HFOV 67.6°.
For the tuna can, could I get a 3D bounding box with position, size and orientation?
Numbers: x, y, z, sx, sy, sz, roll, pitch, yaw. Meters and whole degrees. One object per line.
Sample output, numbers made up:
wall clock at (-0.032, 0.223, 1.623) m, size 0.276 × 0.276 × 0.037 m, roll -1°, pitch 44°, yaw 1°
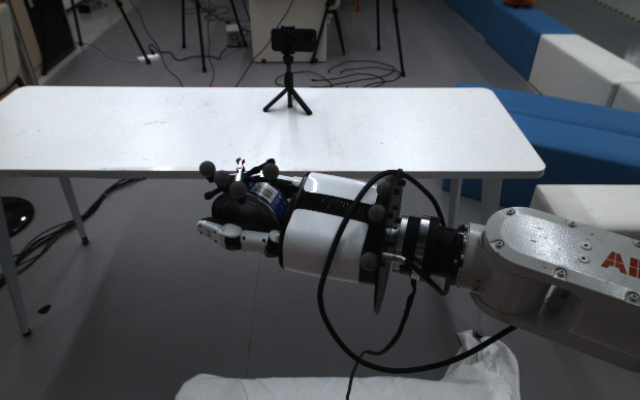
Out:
tuna can at (-0.074, 0.015, 0.547) m, size 0.085 × 0.085 × 0.034 m, roll 14°, pitch 40°, yaw 16°
